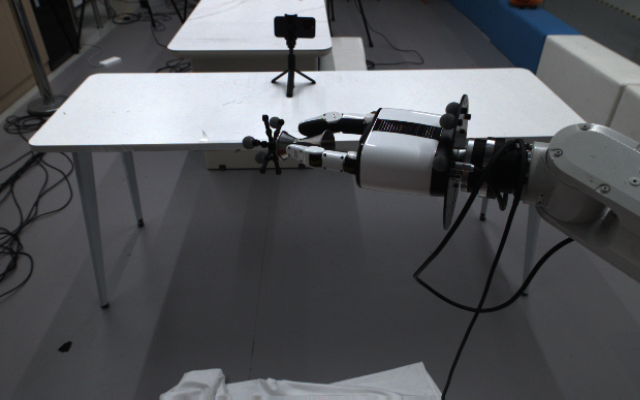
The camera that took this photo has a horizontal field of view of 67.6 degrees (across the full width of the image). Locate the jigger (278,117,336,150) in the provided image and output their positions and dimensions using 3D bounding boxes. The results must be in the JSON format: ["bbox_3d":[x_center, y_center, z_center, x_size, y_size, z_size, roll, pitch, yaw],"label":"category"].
[{"bbox_3d":[-0.012,-0.077,0.640,0.071,0.043,0.043,3,32,26],"label":"jigger"}]
